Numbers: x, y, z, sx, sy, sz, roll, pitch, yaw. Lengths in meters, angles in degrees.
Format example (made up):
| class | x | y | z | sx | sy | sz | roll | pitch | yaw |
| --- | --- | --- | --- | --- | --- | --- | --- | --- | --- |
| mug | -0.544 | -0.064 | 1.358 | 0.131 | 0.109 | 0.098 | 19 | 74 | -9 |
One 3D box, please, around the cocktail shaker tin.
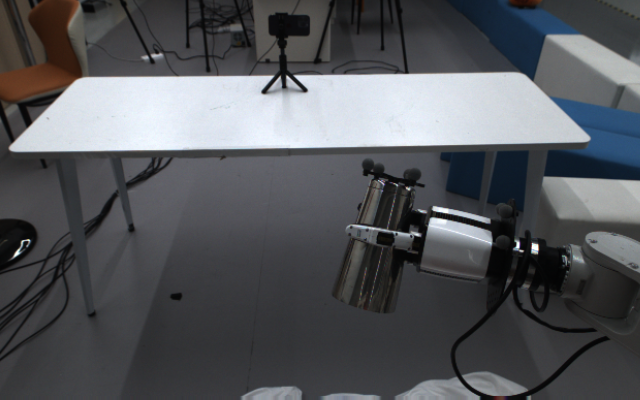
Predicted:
| class | x | y | z | sx | sy | sz | roll | pitch | yaw |
| --- | --- | --- | --- | --- | --- | --- | --- | --- | --- |
| cocktail shaker tin | 0.080 | 0.060 | 0.677 | 0.093 | 0.170 | 0.093 | 14 | 2 | 0 |
